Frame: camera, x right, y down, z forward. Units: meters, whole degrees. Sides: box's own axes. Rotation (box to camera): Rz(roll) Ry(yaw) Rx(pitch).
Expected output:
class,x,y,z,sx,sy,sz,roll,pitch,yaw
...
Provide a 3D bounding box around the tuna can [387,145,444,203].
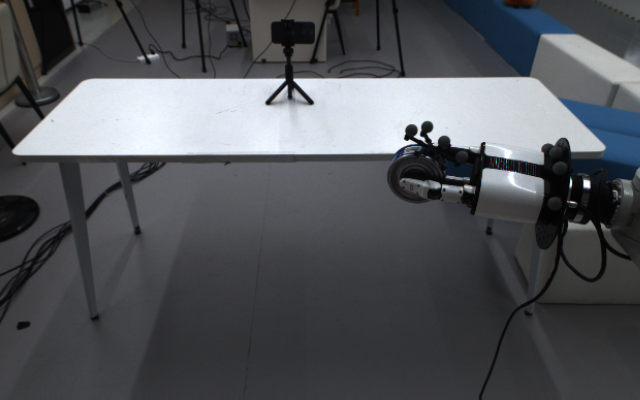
class,x,y,z,sx,sy,sz,roll,pitch,yaw
tuna can,0.147,-0.032,0.715,0.085,0.085,0.034,12,35,14
